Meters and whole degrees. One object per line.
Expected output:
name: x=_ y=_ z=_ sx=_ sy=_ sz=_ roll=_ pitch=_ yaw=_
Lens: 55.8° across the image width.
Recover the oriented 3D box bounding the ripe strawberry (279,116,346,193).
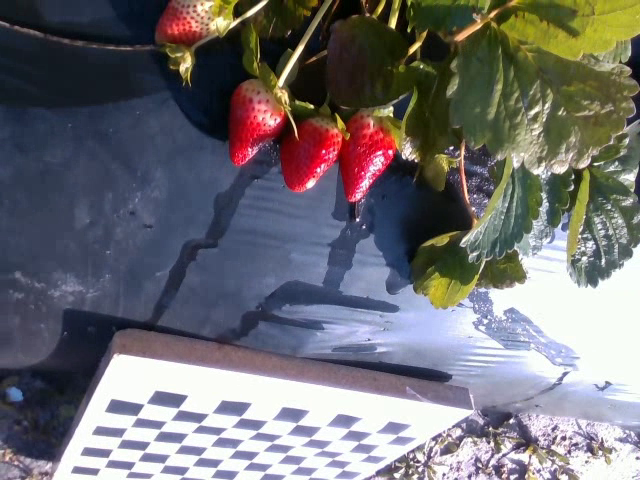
ripe strawberry: x=-0.005 y=-0.040 z=0.289 sx=0.030 sy=0.039 sz=0.036 roll=25 pitch=-22 yaw=-28

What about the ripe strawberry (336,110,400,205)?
ripe strawberry: x=0.020 y=-0.035 z=0.301 sx=0.035 sy=0.041 sz=0.033 roll=13 pitch=-4 yaw=-18

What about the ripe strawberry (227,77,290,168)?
ripe strawberry: x=-0.032 y=-0.052 z=0.283 sx=0.031 sy=0.046 sz=0.023 roll=16 pitch=31 yaw=-21
